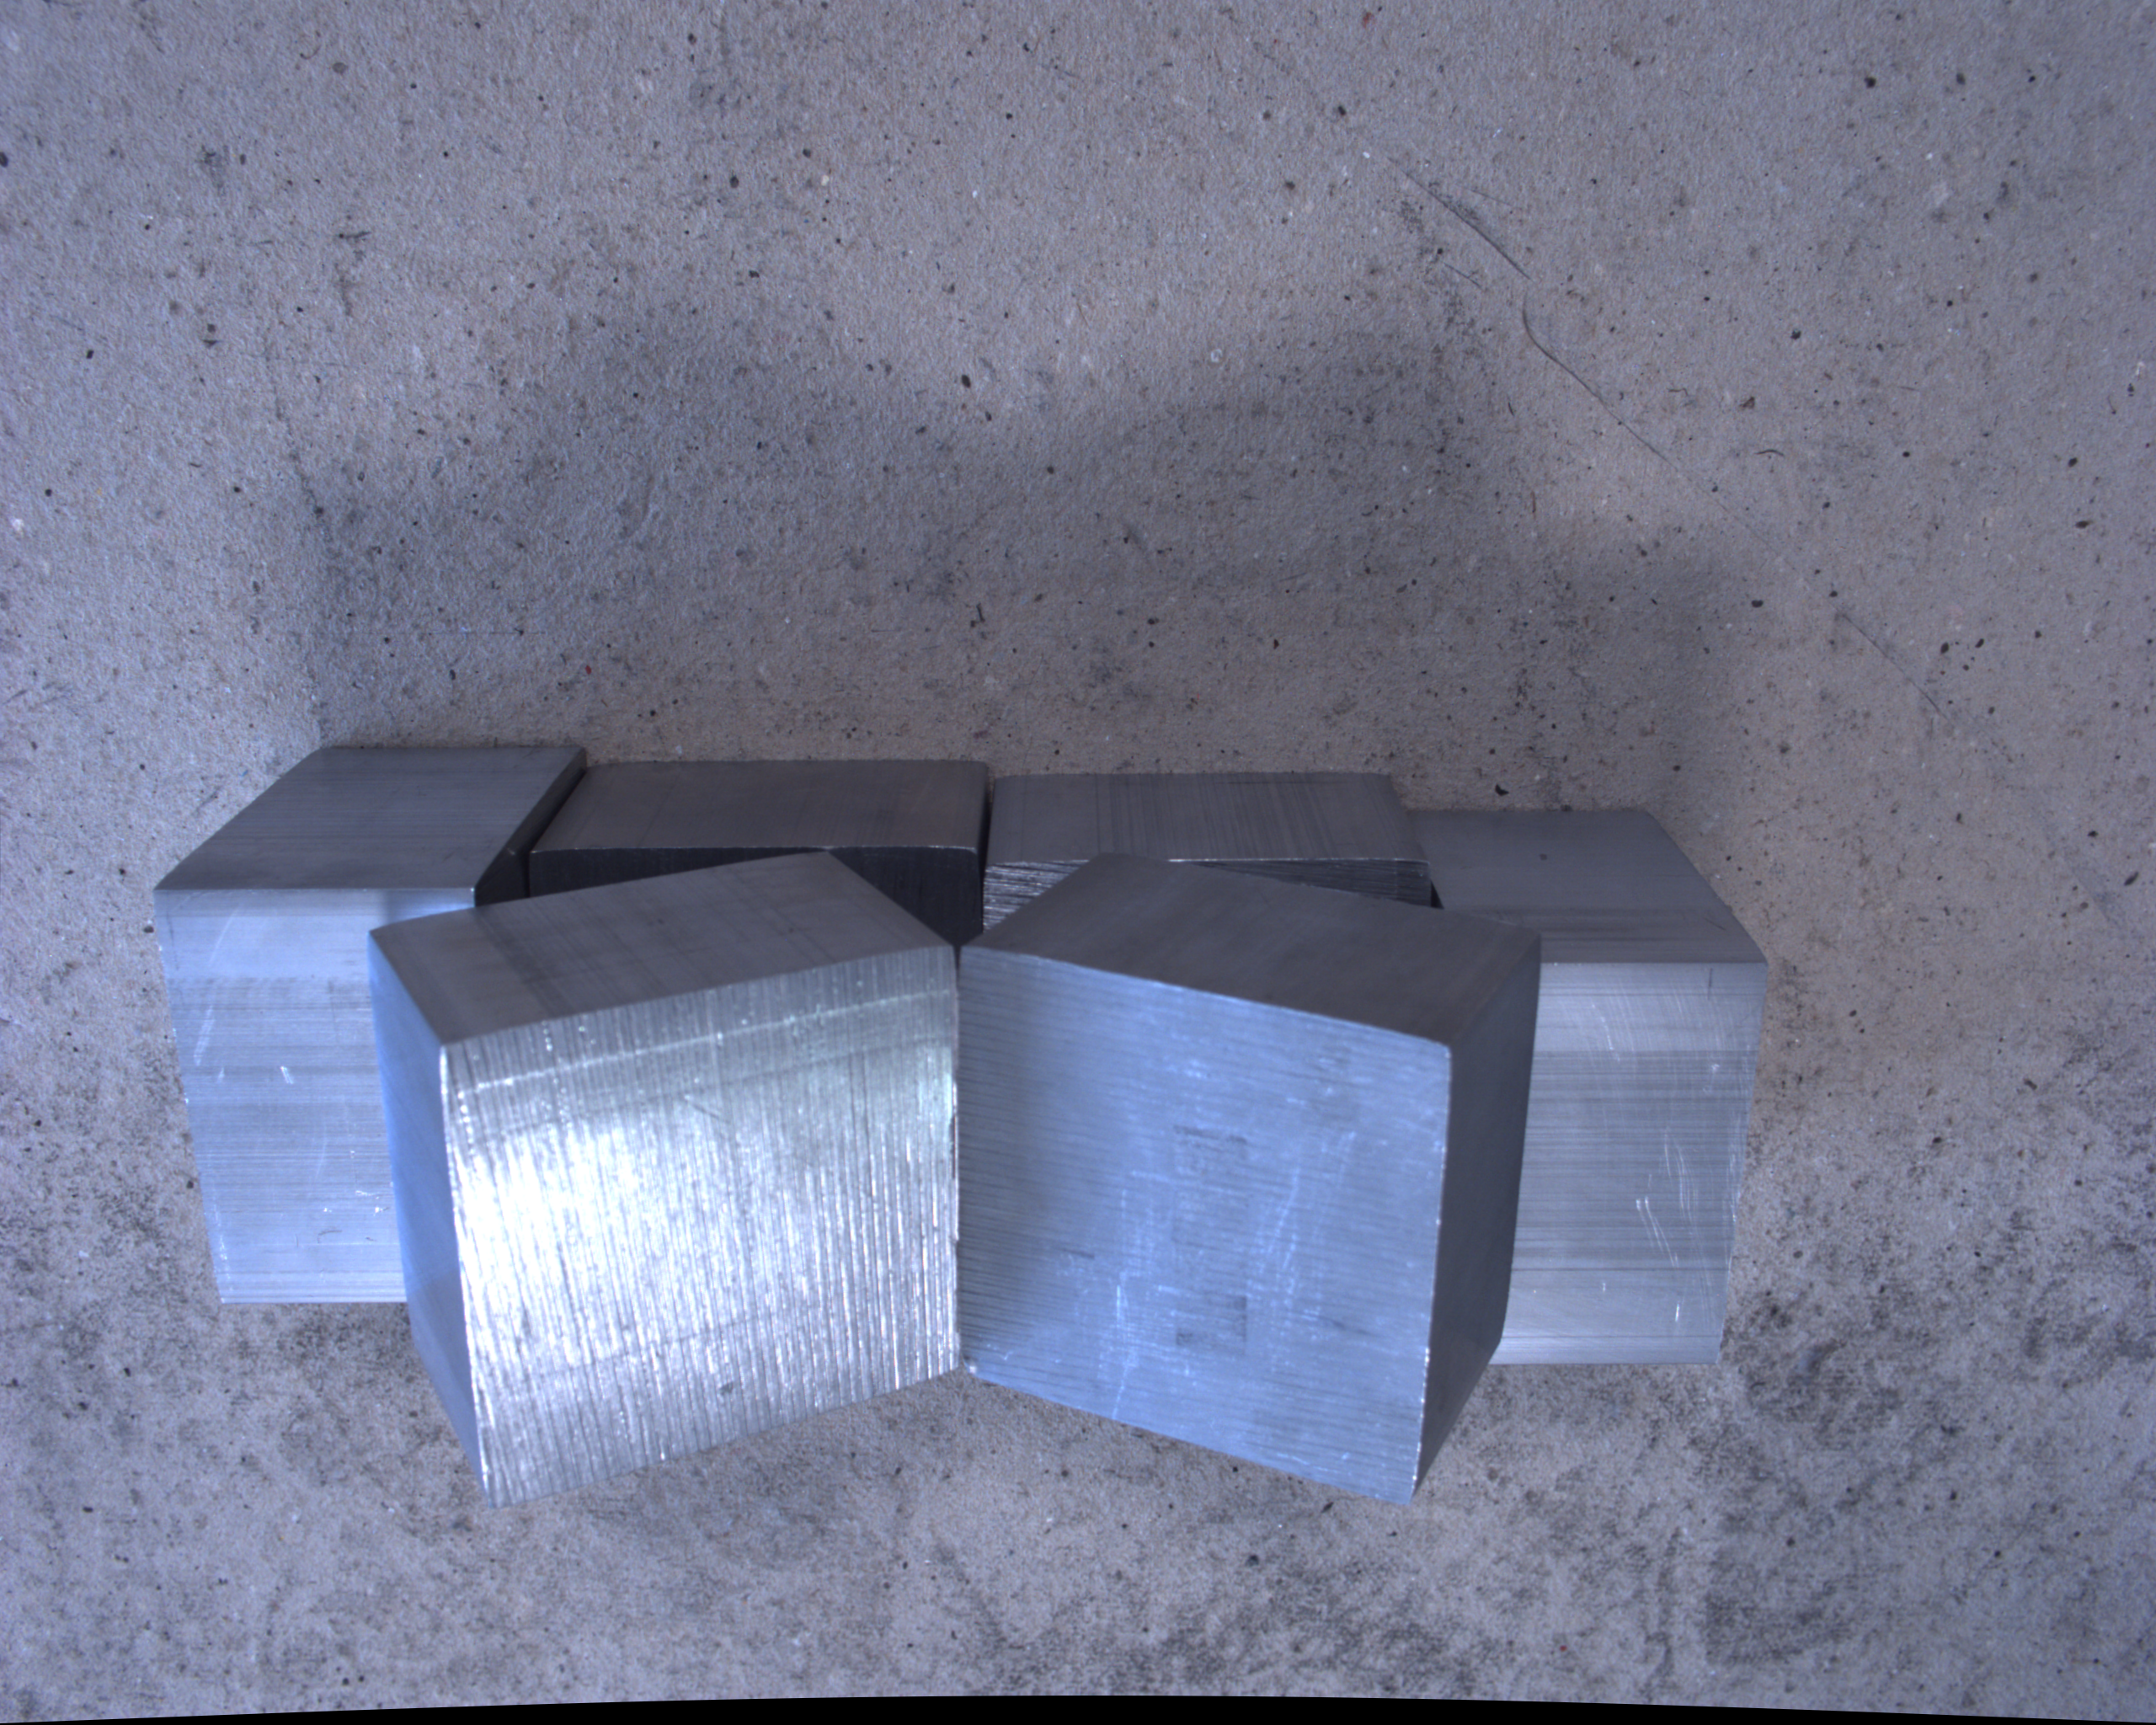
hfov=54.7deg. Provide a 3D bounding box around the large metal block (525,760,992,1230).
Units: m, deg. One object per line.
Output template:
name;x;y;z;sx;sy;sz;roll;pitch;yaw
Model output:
large metal block;-0.058;0.026;0.406;0.081;0.050;0.079;0;110;0

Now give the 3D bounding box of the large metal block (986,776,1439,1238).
large metal block;0.024;0.029;0.407;0.081;0.050;0.079;0;110;0

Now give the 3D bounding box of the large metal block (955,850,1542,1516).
large metal block;0.027;0.049;0.346;0.080;0.050;0.079;11;112;24

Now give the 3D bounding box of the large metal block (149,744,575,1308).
large metal block;-0.125;0.027;0.390;0.050;0.080;0.079;0;109;0

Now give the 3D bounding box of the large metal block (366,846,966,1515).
large metal block;-0.066;0.048;0.344;0.081;0.050;0.079;-10;113;-28

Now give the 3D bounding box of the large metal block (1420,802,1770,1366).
large metal block;0.090;0.039;0.398;0.050;0.080;0.079;0;110;-1
